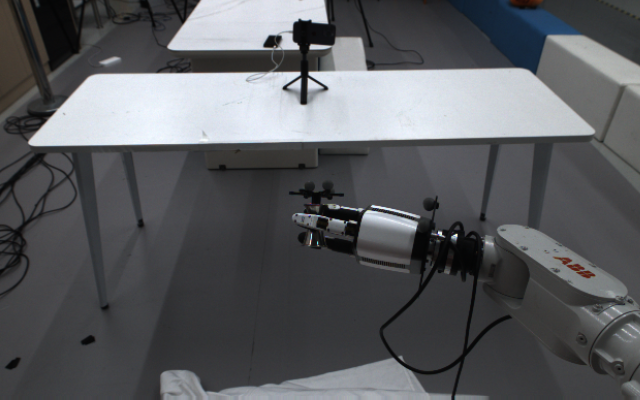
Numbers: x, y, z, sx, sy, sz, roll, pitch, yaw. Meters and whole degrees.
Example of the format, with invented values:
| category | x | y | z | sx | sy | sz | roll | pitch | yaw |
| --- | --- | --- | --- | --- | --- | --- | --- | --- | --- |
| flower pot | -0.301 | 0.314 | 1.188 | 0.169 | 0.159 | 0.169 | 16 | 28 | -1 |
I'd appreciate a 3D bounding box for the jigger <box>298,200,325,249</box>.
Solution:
| category | x | y | z | sx | sy | sz | roll | pitch | yaw |
| --- | --- | --- | --- | --- | --- | --- | --- | --- | --- |
| jigger | -0.008 | 0.040 | 0.779 | 0.043 | 0.071 | 0.043 | 2 | -6 | 0 |
